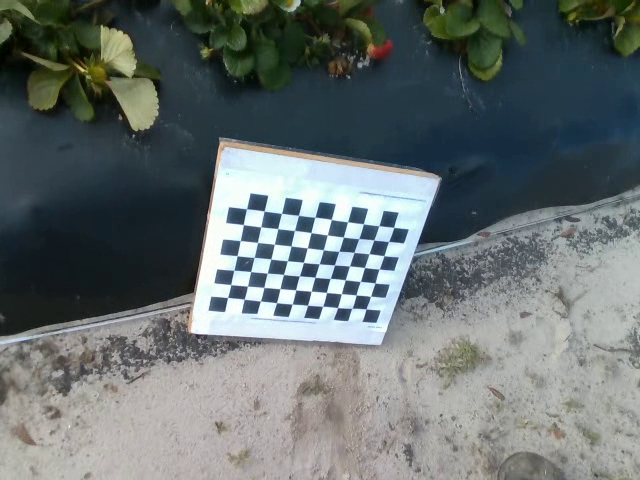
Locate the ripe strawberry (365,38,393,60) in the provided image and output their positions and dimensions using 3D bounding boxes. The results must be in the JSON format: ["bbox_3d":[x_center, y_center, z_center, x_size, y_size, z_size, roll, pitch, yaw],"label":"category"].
[{"bbox_3d":[0.052,-0.167,0.546,0.027,0.022,0.021,-11,42,3],"label":"ripe strawberry"}]
